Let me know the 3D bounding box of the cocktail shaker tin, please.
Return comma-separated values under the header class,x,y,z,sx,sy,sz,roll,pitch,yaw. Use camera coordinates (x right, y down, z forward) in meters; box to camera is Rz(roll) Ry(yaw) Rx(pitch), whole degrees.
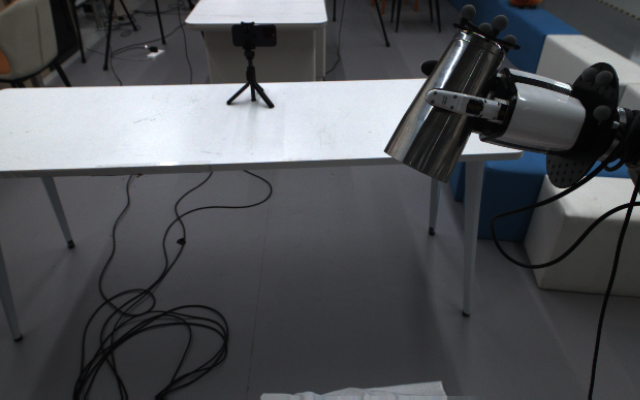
class,x,y,z,sx,sy,sz,roll,pitch,yaw
cocktail shaker tin,0.162,-0.121,0.608,0.093,0.170,0.093,24,13,-6
